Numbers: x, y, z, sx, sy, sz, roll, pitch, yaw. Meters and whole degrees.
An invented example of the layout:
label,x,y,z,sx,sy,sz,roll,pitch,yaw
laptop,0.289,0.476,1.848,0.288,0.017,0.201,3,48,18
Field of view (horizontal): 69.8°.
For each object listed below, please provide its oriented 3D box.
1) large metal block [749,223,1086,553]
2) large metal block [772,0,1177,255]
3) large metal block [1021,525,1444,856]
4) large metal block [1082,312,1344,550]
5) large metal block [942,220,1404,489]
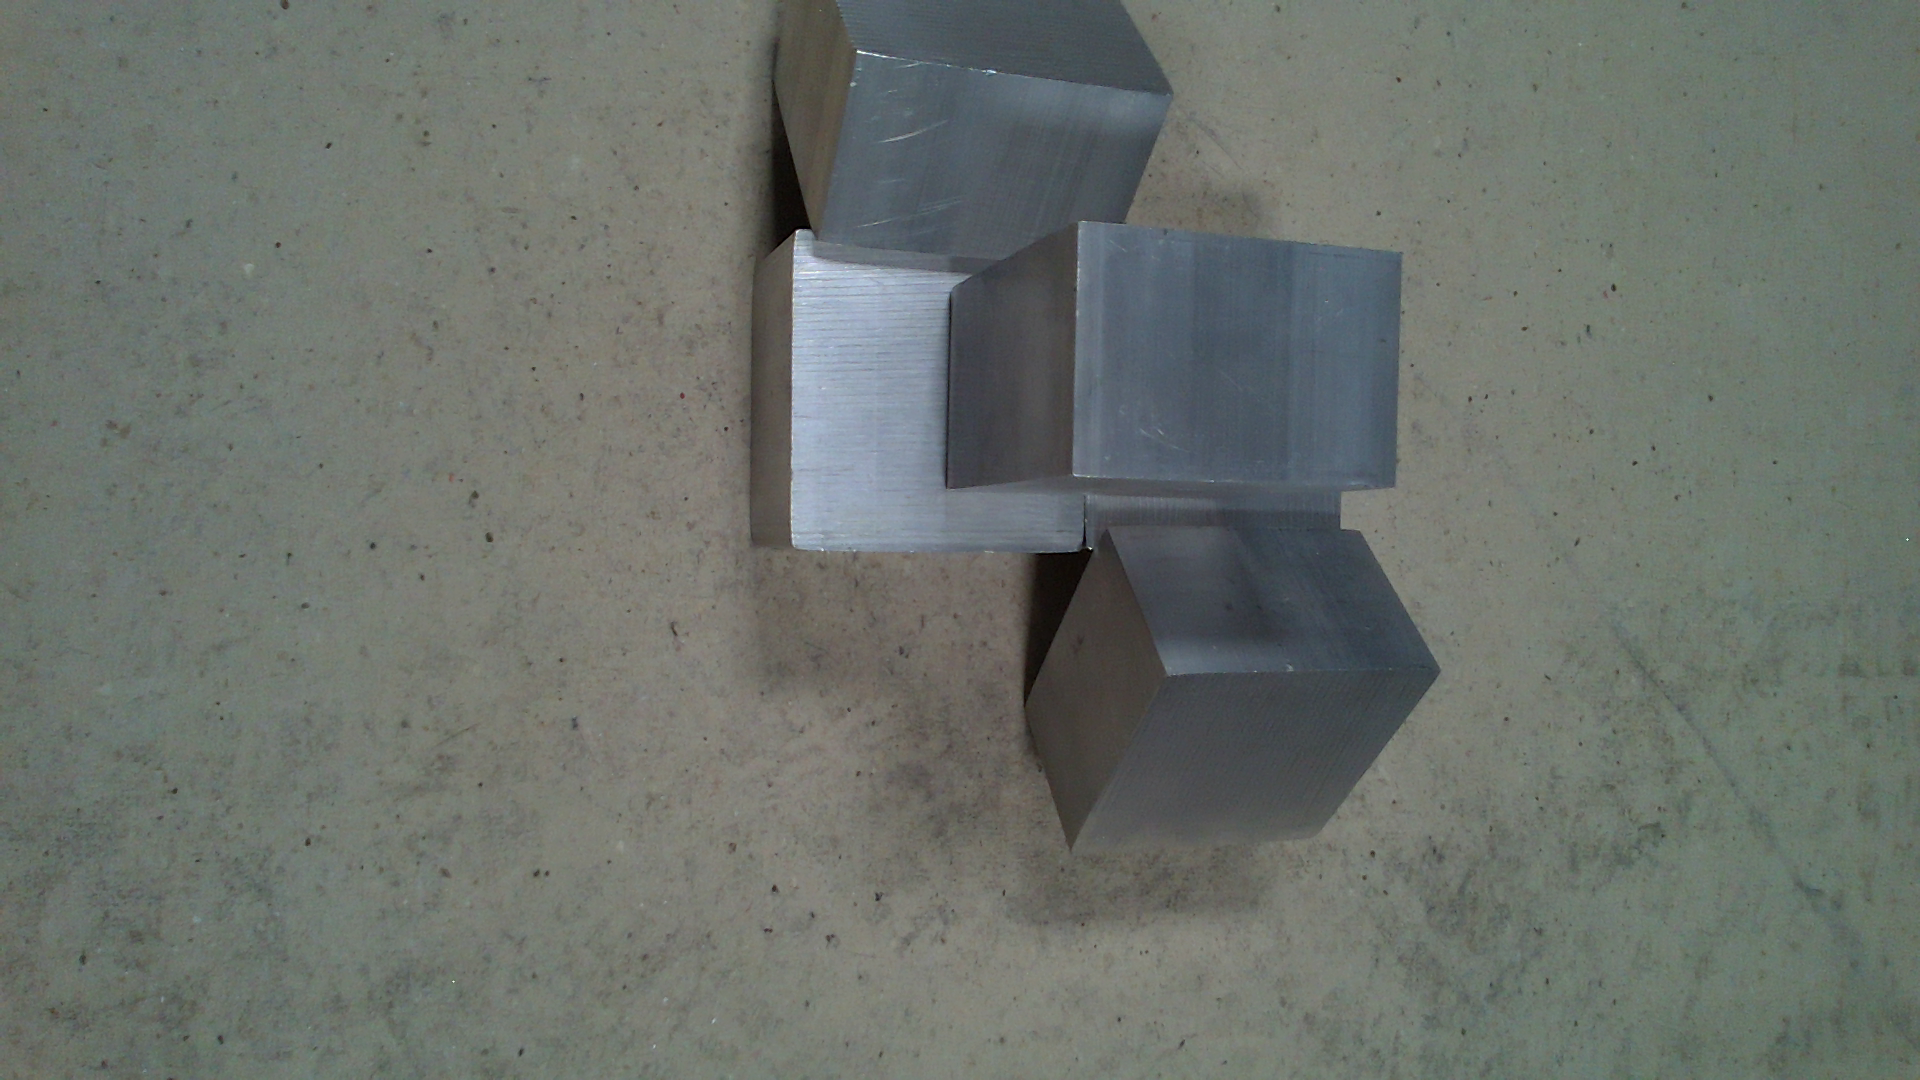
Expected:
label,x,y,z,sx,sy,sz,roll,pitch,yaw
large metal block,-0.012,-0.037,0.374,0.080,0.050,0.080,1,90,-20
large metal block,-0.001,-0.119,0.358,0.080,0.050,0.080,1,46,-19
large metal block,0.072,0.042,0.384,0.080,0.080,0.050,0,46,-20
large metal block,0.064,-0.037,0.402,0.080,0.050,0.080,1,90,-20
large metal block,0.047,-0.039,0.329,0.080,0.080,0.050,1,90,-20
